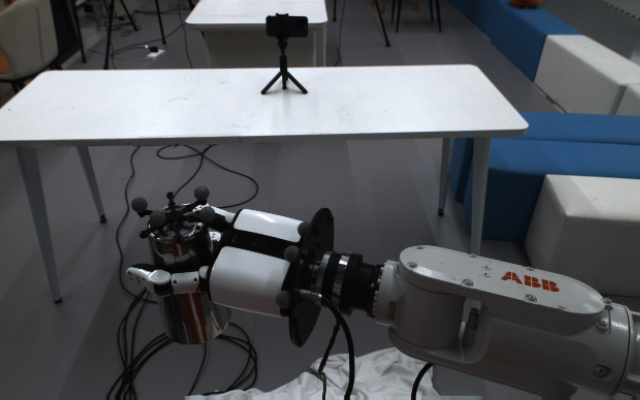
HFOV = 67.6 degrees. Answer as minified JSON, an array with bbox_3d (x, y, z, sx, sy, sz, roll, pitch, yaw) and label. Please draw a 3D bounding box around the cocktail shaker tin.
[{"bbox_3d":[-0.161,0.090,0.604,0.093,0.170,0.093,0,39,0],"label":"cocktail shaker tin"}]
